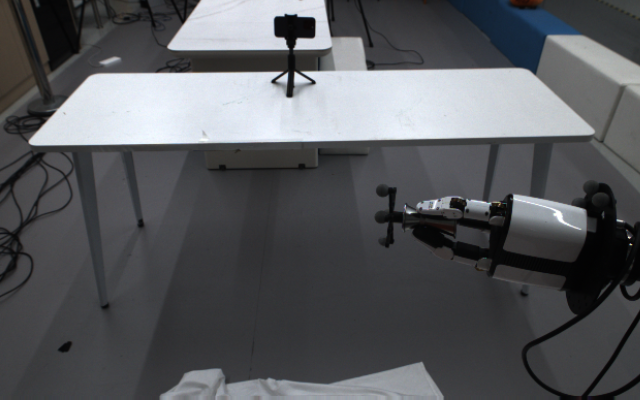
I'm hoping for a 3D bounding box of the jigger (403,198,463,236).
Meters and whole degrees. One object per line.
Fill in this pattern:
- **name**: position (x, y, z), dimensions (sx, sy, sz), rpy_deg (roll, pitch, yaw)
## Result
- **jigger**: position (0.152, 0.021, 0.636), dimensions (0.071, 0.043, 0.043), rpy_deg (3, 34, 15)
